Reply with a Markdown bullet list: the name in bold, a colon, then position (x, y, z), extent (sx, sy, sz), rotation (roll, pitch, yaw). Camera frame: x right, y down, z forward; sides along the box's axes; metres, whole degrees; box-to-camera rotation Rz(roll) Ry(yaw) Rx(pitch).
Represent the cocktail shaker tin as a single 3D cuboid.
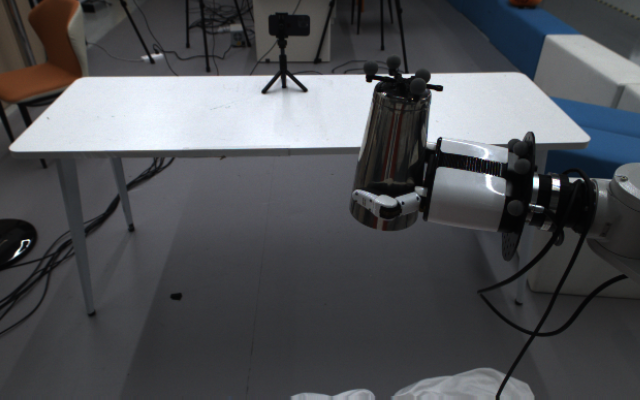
- **cocktail shaker tin**: position (0.091, -0.057, 0.603), extent (0.093, 0.170, 0.093), rotation (3, 34, -2)
